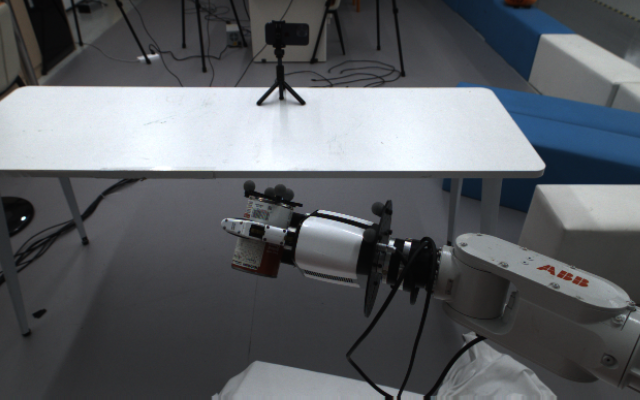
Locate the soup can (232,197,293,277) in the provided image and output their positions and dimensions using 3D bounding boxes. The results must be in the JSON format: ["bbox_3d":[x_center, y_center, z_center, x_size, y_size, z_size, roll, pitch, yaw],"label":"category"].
[{"bbox_3d":[-0.079,0.053,0.677,0.067,0.101,0.067,13,-6,1],"label":"soup can"}]
